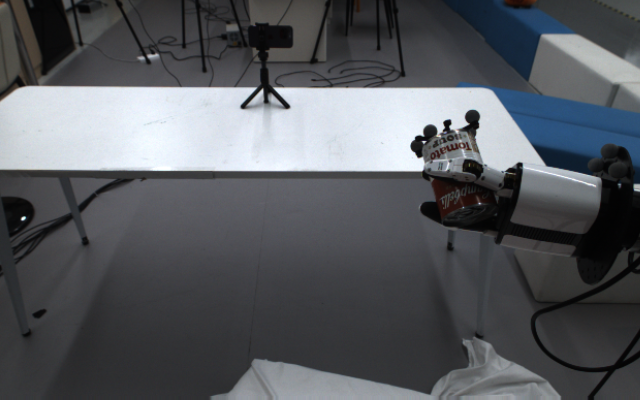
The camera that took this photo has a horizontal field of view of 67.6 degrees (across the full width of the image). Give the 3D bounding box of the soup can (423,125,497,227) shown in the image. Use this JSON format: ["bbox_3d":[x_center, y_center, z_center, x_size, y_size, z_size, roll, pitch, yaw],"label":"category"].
[{"bbox_3d":[0.170,-0.028,0.591,0.067,0.067,0.101,-7,68,-13],"label":"soup can"}]
